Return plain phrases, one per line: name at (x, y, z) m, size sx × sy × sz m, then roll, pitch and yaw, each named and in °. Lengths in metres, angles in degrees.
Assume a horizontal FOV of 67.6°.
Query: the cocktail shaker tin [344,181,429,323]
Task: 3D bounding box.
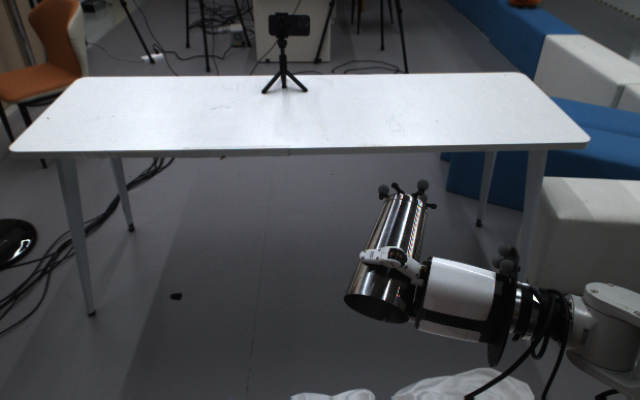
cocktail shaker tin at (0.101, 0.077, 0.690) m, size 0.093 × 0.093 × 0.170 m, roll 14°, pitch 60°, yaw 16°
